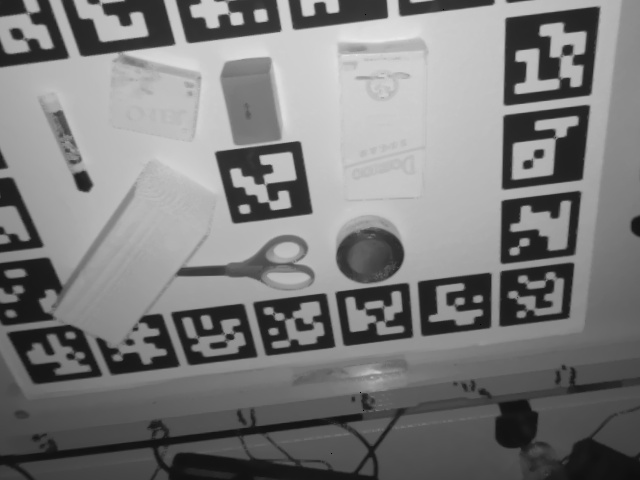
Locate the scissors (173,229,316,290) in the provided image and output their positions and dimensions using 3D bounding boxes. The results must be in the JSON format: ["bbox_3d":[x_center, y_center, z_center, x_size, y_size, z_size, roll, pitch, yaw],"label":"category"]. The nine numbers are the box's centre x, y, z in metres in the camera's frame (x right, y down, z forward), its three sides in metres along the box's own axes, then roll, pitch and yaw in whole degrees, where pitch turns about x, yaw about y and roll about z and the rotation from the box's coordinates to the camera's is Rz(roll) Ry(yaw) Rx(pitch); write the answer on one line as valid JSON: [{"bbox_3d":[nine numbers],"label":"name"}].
[{"bbox_3d":[-0.105,0.026,0.873,0.204,0.016,0.087,0,121,-6],"label":"scissors"}]

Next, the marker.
[{"bbox_3d":[-0.277,-0.124,0.766,0.020,0.020,0.120,-5,119,0],"label":"marker"}]

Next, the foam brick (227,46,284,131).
[{"bbox_3d":[-0.067,-0.161,0.736,0.053,0.052,0.077,-4,121,-1],"label":"foam brick"}]

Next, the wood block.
[{"bbox_3d":[-0.226,0.002,0.810,0.090,0.091,0.204,34,115,-22],"label":"wood block"}]

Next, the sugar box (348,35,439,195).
[{"bbox_3d":[0.078,-0.136,0.771,0.093,0.045,0.175,-2,121,-2],"label":"sugar box"}]

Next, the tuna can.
[{"bbox_3d":[0.068,0.008,0.860,0.086,0.034,0.085,-2,121,-2],"label":"tuna can"}]

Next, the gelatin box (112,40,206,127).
[{"bbox_3d":[-0.172,-0.167,0.743,0.090,0.030,0.072,10,119,-10],"label":"gelatin box"}]
